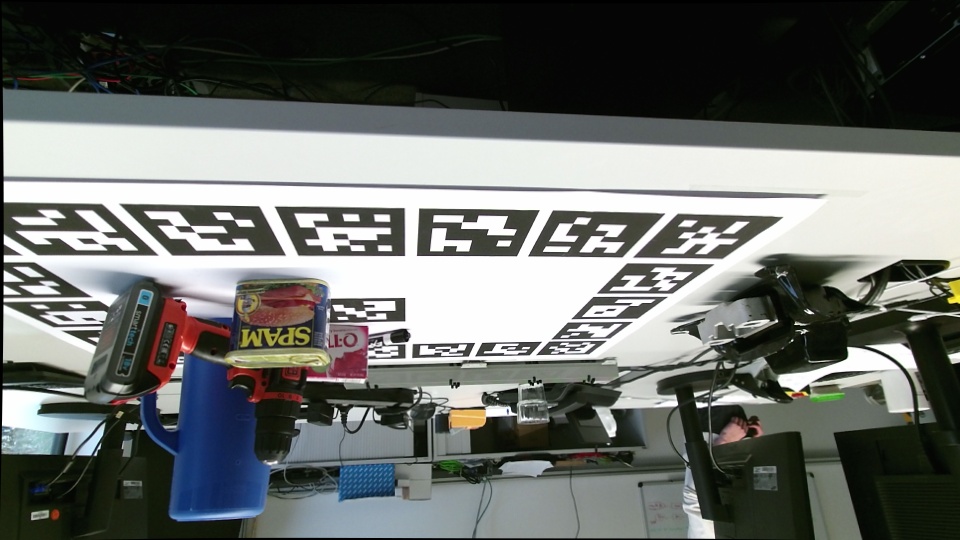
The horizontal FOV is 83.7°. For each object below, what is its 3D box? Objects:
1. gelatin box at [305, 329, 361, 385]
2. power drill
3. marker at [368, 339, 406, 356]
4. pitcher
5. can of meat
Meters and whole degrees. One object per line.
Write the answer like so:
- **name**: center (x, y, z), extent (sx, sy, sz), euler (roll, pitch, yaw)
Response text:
- **gelatin box**: center (-0.211, 0.117, 0.731), extent (0.090, 0.073, 0.030), euler (6, 149, -18)
- **power drill**: center (-0.287, 0.125, 0.604), extent (0.188, 0.183, 0.057), euler (24, 140, -37)
- **marker**: center (-0.167, 0.119, 0.798), extent (0.121, 0.019, 0.020), euler (-12, 154, 14)
- **pitcher**: center (-0.349, 0.189, 0.679), extent (0.189, 0.241, 0.133), euler (10, 149, -42)
- **can of meat**: center (-0.214, 0.056, 0.577), extent (0.102, 0.083, 0.058), euler (0, 157, -8)
